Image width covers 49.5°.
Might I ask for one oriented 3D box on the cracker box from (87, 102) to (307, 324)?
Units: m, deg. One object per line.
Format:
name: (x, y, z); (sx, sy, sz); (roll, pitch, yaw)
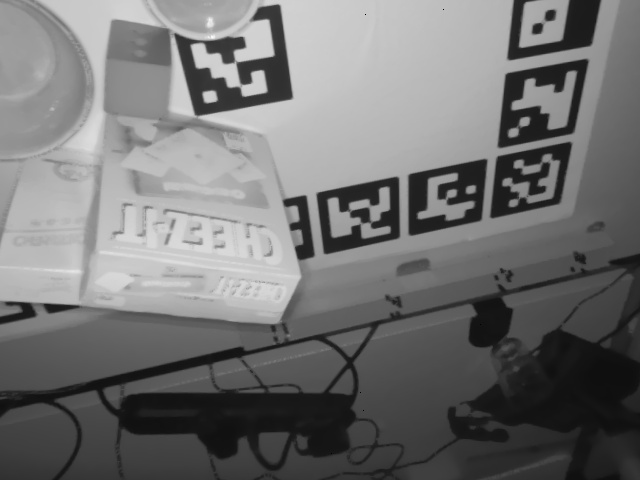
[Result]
cracker box: (-0.110, -0.039, 0.623); (0.166, 0.214, 0.071); (15, 127, -25)

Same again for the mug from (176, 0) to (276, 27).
mug: (-0.068, -0.235, 0.551); (0.117, 0.081, 0.093); (-18, 140, -3)

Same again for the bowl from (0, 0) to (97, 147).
bowl: (-0.266, -0.158, 0.568); (0.163, 0.055, 0.160); (-8, 130, -9)

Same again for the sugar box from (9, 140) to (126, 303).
sugar box: (-0.221, -0.022, 0.629); (0.094, 0.177, 0.045); (7, 128, -21)

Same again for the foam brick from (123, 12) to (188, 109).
foam brick: (-0.145, -0.158, 0.608); (0.053, 0.078, 0.051); (2, 130, -17)
